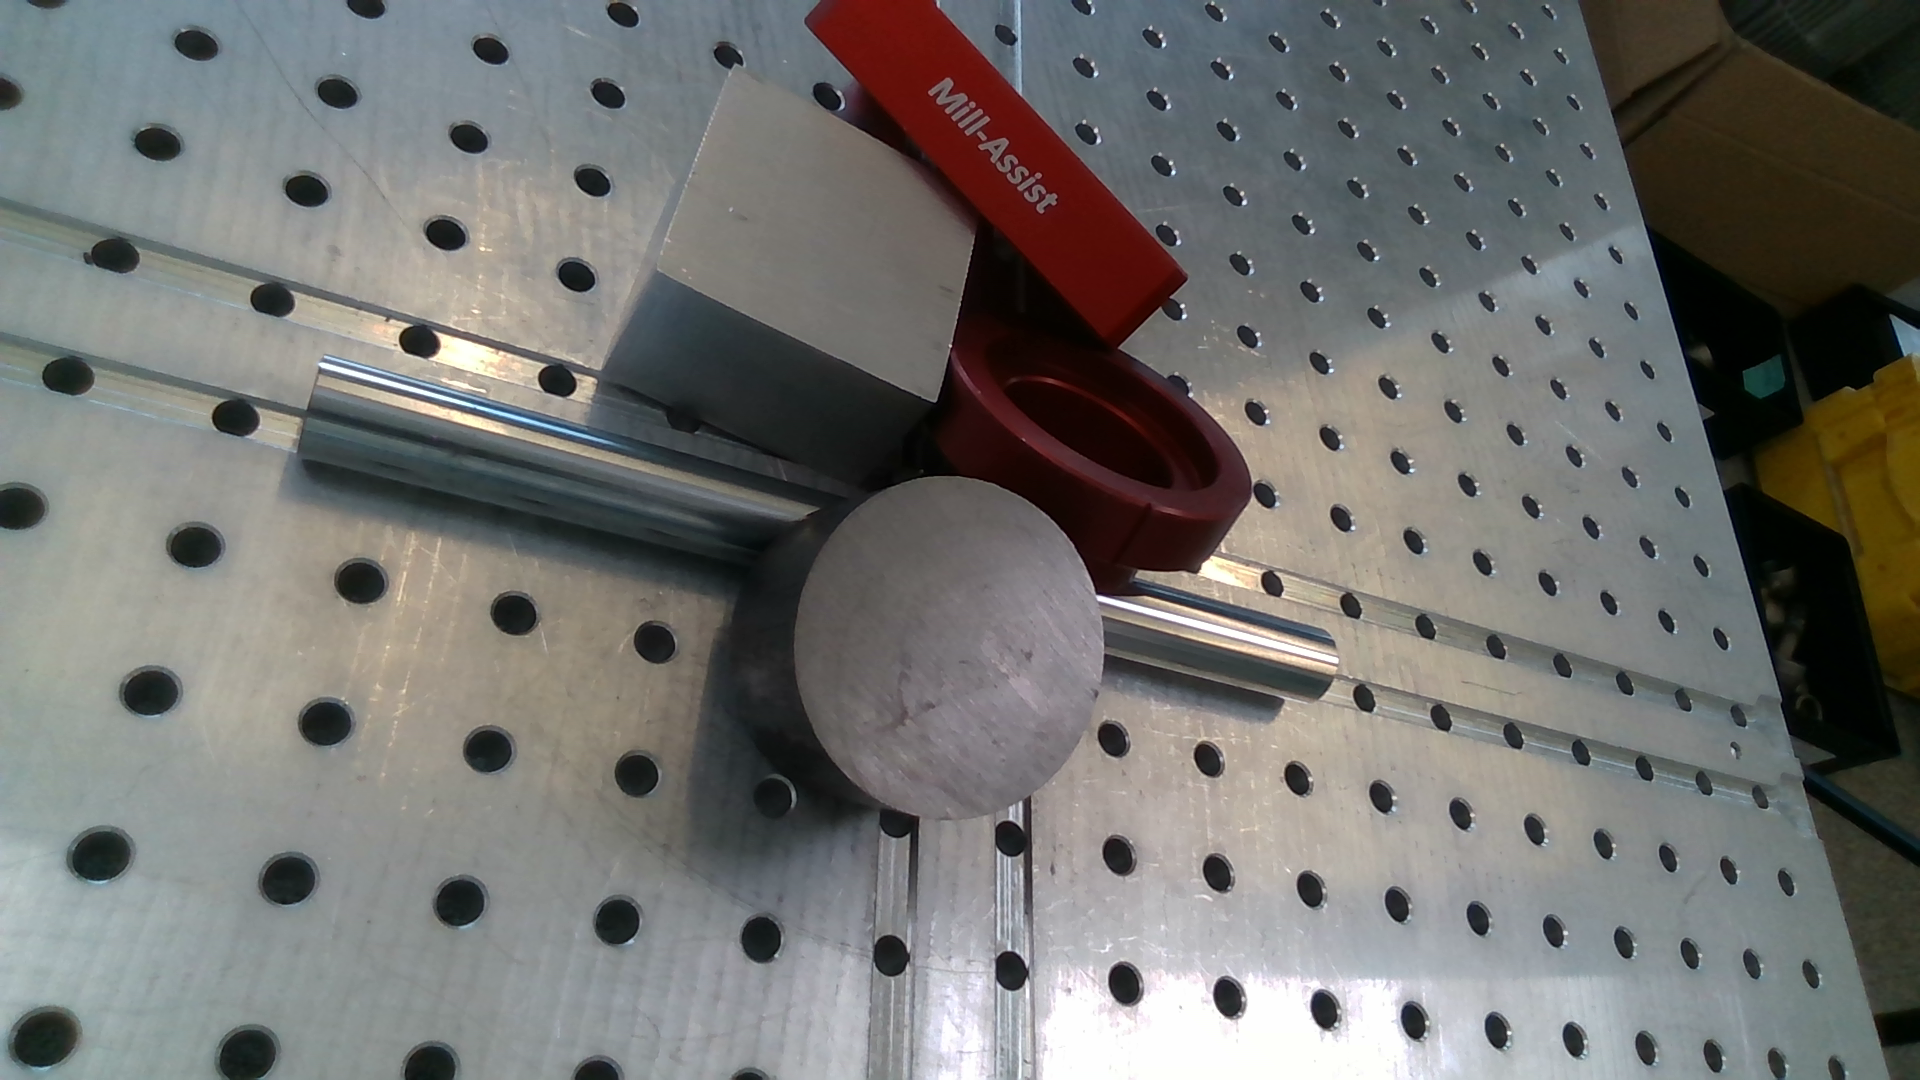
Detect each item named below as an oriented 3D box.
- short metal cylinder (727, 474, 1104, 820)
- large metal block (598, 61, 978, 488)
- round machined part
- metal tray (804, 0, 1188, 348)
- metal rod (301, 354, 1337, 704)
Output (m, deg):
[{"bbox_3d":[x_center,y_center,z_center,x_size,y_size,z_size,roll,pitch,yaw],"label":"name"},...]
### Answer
[{"bbox_3d":[-0.012,0.027,0.342,0.080,0.050,0.080,3,84,-26],"label":"short metal cylinder"},{"bbox_3d":[-0.046,-0.074,0.391,0.080,0.050,0.080,24,55,-19],"label":"large metal block"},{"bbox_3d":[0.032,-0.023,0.401,0.098,0.042,0.098,23,30,-14],"label":"round machined part"},{"bbox_3d":[0.015,-0.119,0.435,0.130,0.030,0.090,46,12,-2],"label":"metal tray"},{"bbox_3d":[-0.019,0.005,0.383,0.300,0.025,0.025,15,58,-24],"label":"metal rod"}]
